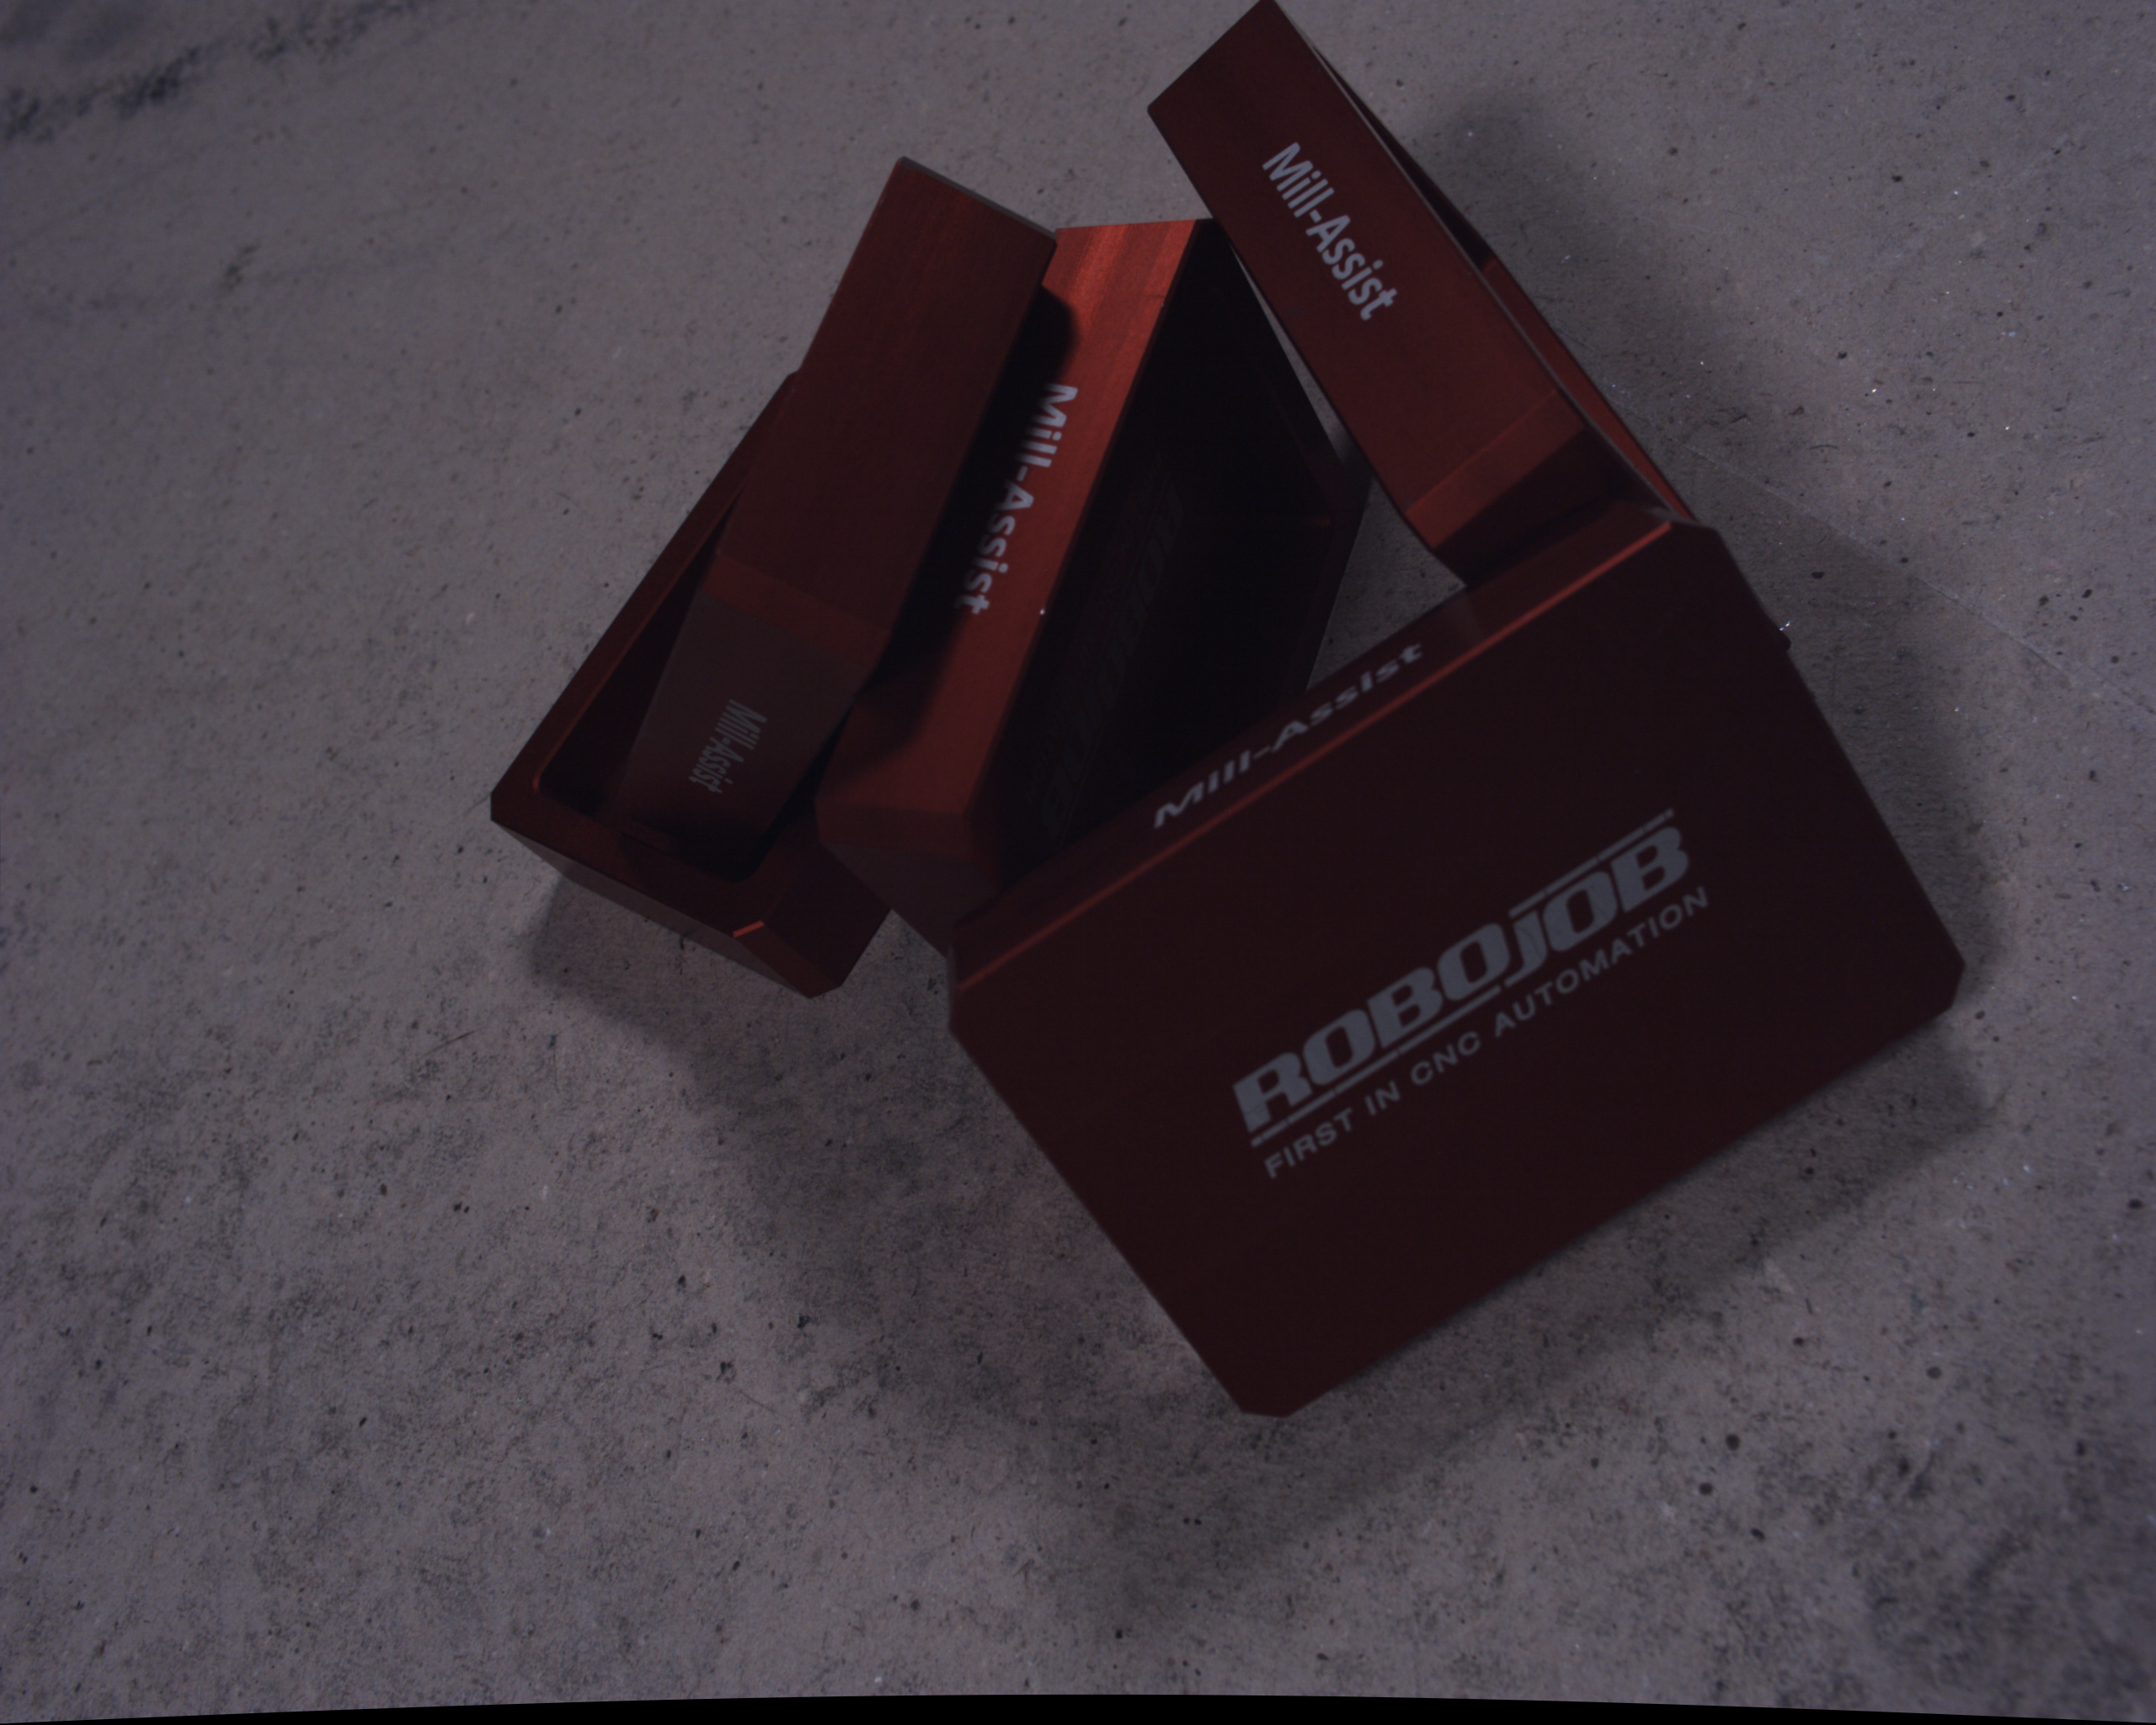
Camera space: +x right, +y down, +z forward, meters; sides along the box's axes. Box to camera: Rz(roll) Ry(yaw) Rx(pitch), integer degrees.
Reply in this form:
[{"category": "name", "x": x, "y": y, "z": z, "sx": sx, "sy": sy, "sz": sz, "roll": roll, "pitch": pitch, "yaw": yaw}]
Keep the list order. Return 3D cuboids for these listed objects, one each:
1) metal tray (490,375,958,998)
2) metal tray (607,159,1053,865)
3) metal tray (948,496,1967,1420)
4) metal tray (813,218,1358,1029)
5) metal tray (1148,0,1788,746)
[{"category": "metal tray", "x": -0.059, "y": -0.044, "z": 0.458, "sx": 0.090, "sy": 0.030, "sz": 0.130, "roll": 22, "pitch": 73, "yaw": 35}, {"category": "metal tray", "x": -0.051, "y": -0.060, "z": 0.394, "sx": 0.130, "sy": 0.030, "sz": 0.090, "roll": -39, "pitch": 29, "yaw": 66}, {"category": "metal tray", "x": 0.057, "y": 0.016, "z": 0.323, "sx": 0.130, "sy": 0.090, "sz": 0.030, "roll": -34, "pitch": 17, "yaw": 6}, {"category": "metal tray", "x": 0.008, "y": -0.040, "z": 0.383, "sx": 0.030, "sy": 0.090, "sz": 0.130, "roll": 7, "pitch": 65, "yaw": 31}, {"category": "metal tray", "x": 0.069, "y": -0.090, "z": 0.379, "sx": 0.030, "sy": 0.090, "sz": 0.130, "roll": -39, "pitch": 50, "yaw": 20}]
